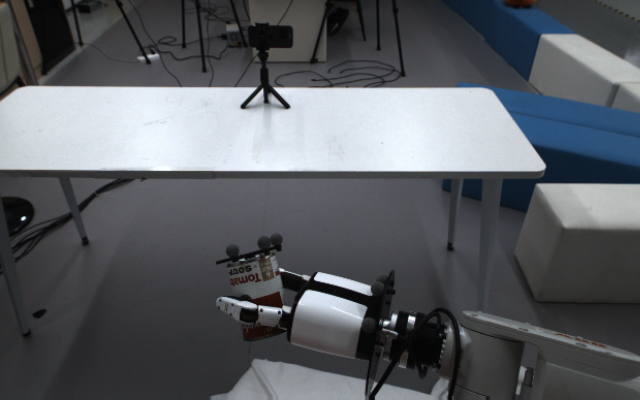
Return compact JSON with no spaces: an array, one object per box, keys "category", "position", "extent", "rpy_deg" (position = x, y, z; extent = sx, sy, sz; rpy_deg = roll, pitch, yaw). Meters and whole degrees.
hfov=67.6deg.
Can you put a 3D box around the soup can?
[{"category":"soup can","position":[-0.078,0.127,0.640],"extent":[0.067,0.101,0.067],"rpy_deg":[-14,-2,-1]}]
